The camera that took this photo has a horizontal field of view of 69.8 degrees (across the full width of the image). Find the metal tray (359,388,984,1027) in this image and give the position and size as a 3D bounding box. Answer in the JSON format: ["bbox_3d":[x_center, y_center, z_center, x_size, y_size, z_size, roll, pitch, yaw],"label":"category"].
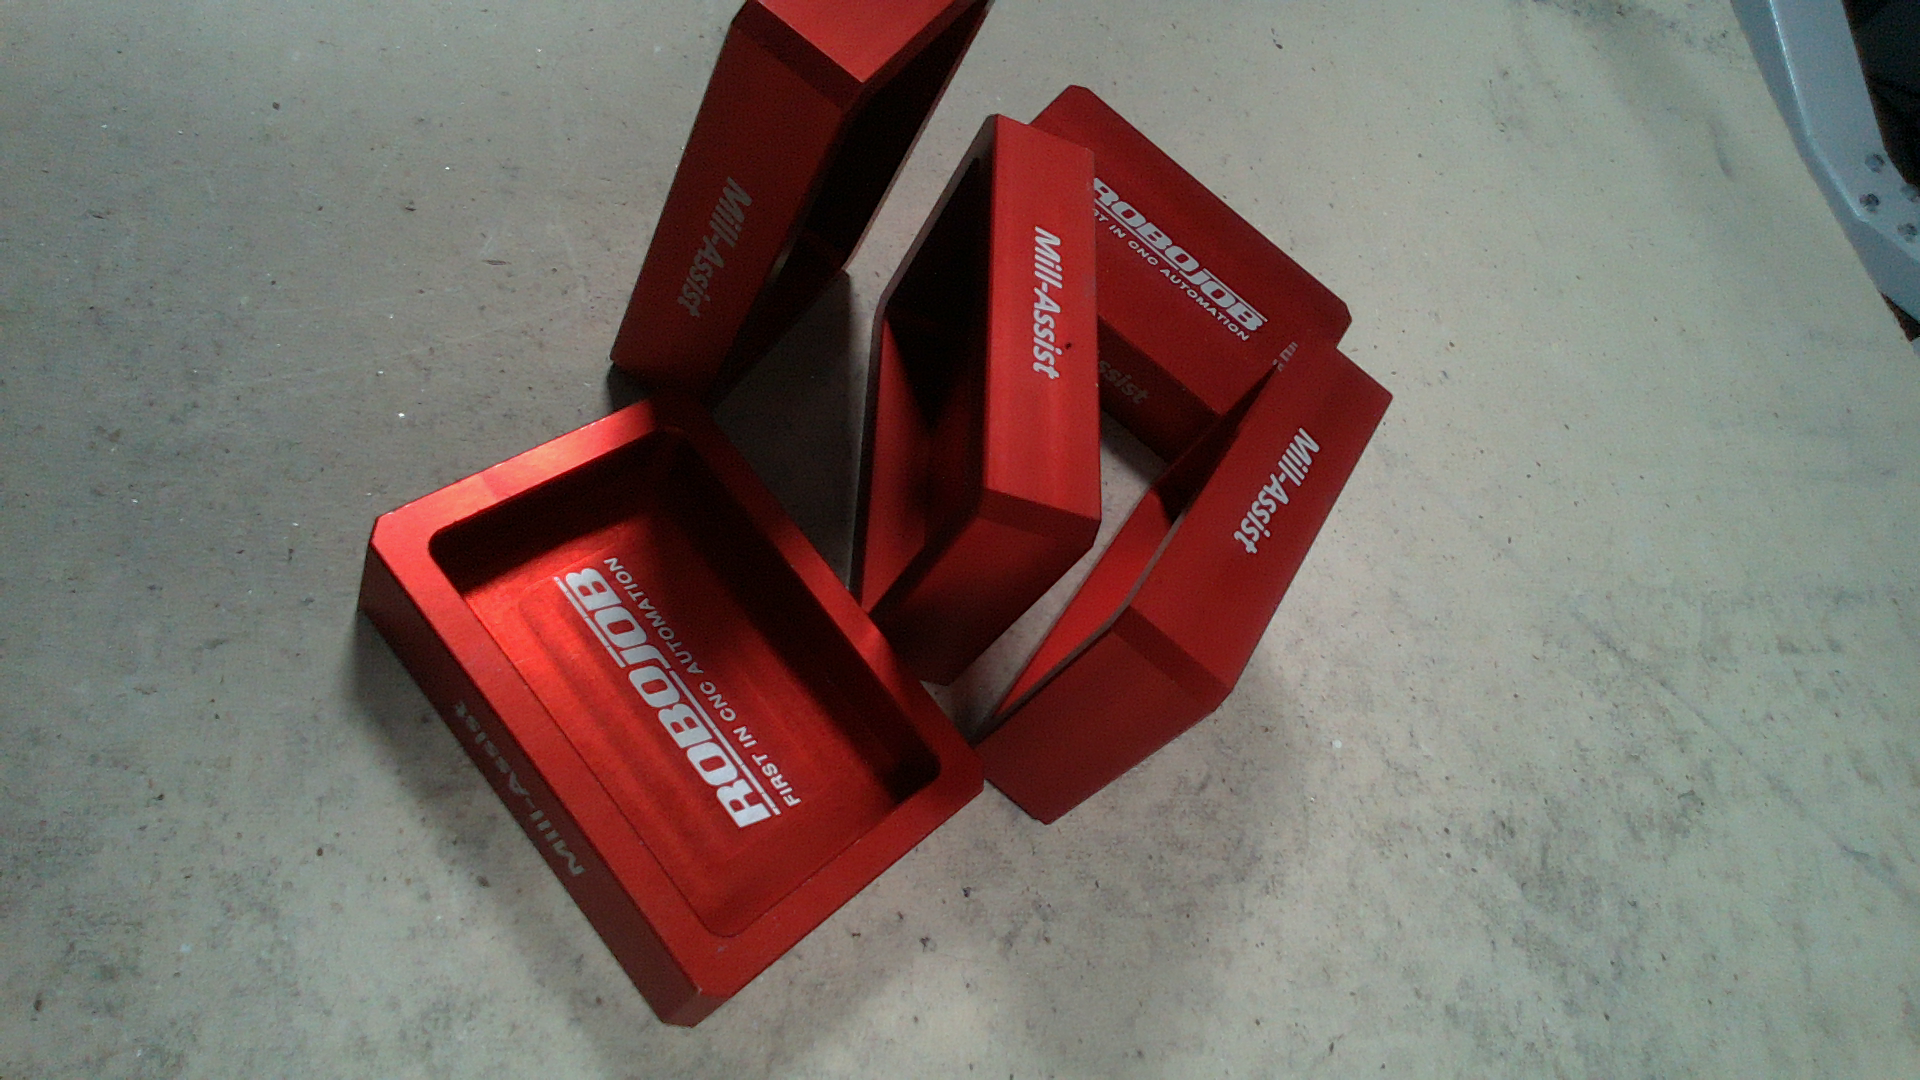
[{"bbox_3d":[-0.067,0.035,0.329,0.090,0.030,0.130,-32,80,-38],"label":"metal tray"}]

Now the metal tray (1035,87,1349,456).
[{"bbox_3d":[0.063,-0.088,0.475,0.130,0.030,0.090,39,51,-2],"label":"metal tray"}]

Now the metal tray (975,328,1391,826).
[{"bbox_3d":[0.060,0.008,0.375,0.030,0.090,0.130,40,51,-1],"label":"metal tray"}]

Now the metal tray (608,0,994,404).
[{"bbox_3d":[-0.041,-0.099,0.361,0.030,0.130,0.090,37,51,-3],"label":"metal tray"}]

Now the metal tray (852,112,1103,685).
[{"bbox_3d":[0.003,-0.038,0.372,0.030,0.090,0.130,15,55,-19],"label":"metal tray"}]
